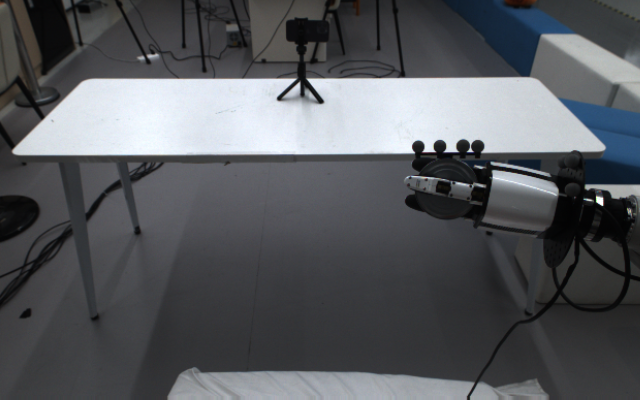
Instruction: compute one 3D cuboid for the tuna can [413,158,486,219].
[{"bbox_3d":[0.179,-0.018,0.681,0.085,0.085,0.034,12,8,14],"label":"tuna can"}]
